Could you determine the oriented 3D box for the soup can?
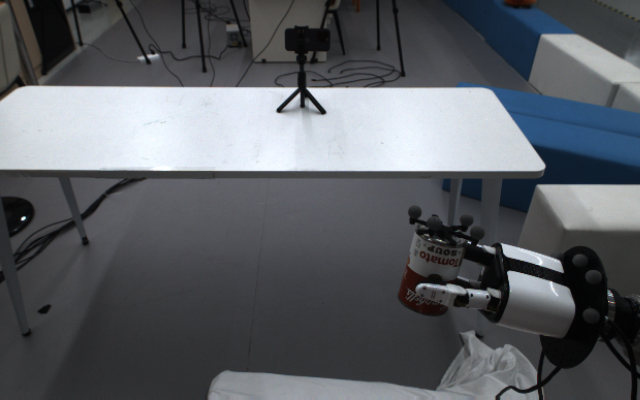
[{"bbox_3d":[0.147,0.086,0.626,0.067,0.101,0.067,9,20,-3],"label":"soup can"}]
